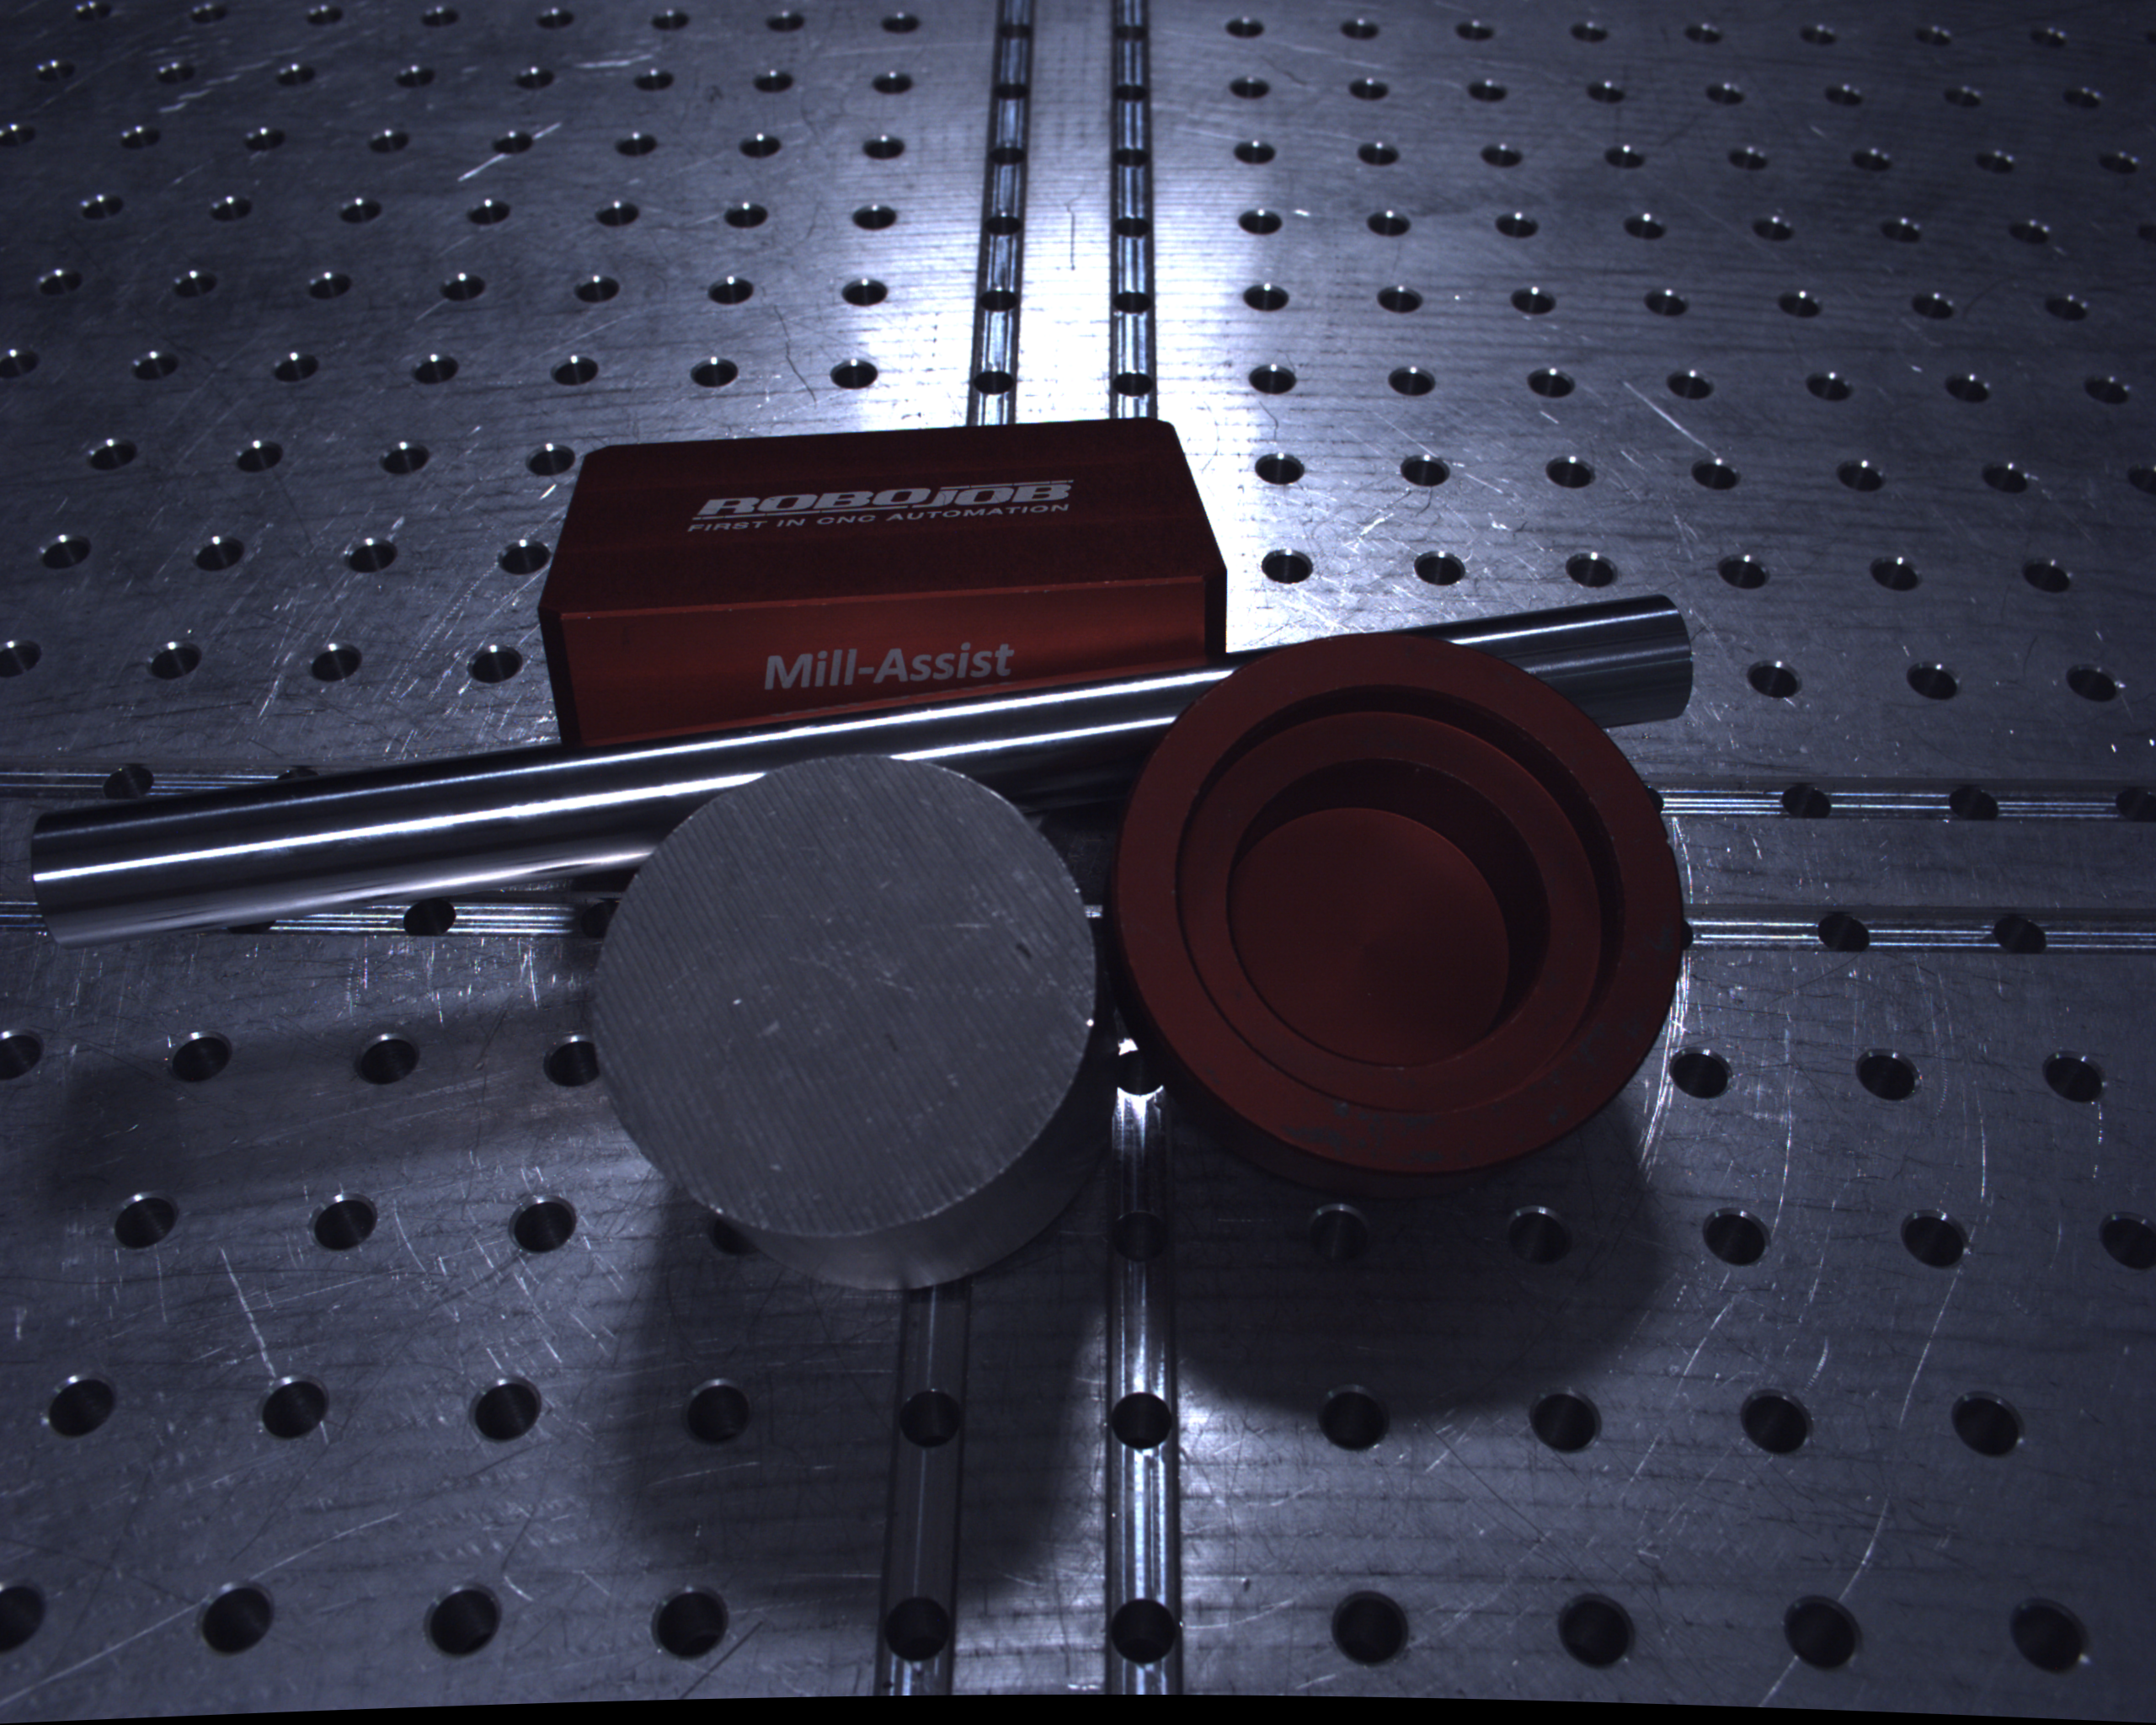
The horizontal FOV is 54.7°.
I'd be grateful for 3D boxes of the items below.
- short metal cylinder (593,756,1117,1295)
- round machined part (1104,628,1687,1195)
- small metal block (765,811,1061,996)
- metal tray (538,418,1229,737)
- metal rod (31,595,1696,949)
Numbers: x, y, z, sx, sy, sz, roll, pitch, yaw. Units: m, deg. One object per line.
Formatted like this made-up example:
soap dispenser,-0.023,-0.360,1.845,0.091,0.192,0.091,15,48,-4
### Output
short metal cylinder,-0.035,0.029,0.352,0.080,0.050,0.080,-2,68,5
round machined part,0.054,0.011,0.373,0.099,0.042,0.098,1,72,-4
small metal block,-0.035,0.009,0.410,0.050,0.025,0.050,14,51,11
metal tray,-0.040,-0.061,0.437,0.131,0.030,0.090,-3,32,-4
metal rod,-0.032,-0.019,0.389,0.302,0.025,0.025,-8,51,-8
